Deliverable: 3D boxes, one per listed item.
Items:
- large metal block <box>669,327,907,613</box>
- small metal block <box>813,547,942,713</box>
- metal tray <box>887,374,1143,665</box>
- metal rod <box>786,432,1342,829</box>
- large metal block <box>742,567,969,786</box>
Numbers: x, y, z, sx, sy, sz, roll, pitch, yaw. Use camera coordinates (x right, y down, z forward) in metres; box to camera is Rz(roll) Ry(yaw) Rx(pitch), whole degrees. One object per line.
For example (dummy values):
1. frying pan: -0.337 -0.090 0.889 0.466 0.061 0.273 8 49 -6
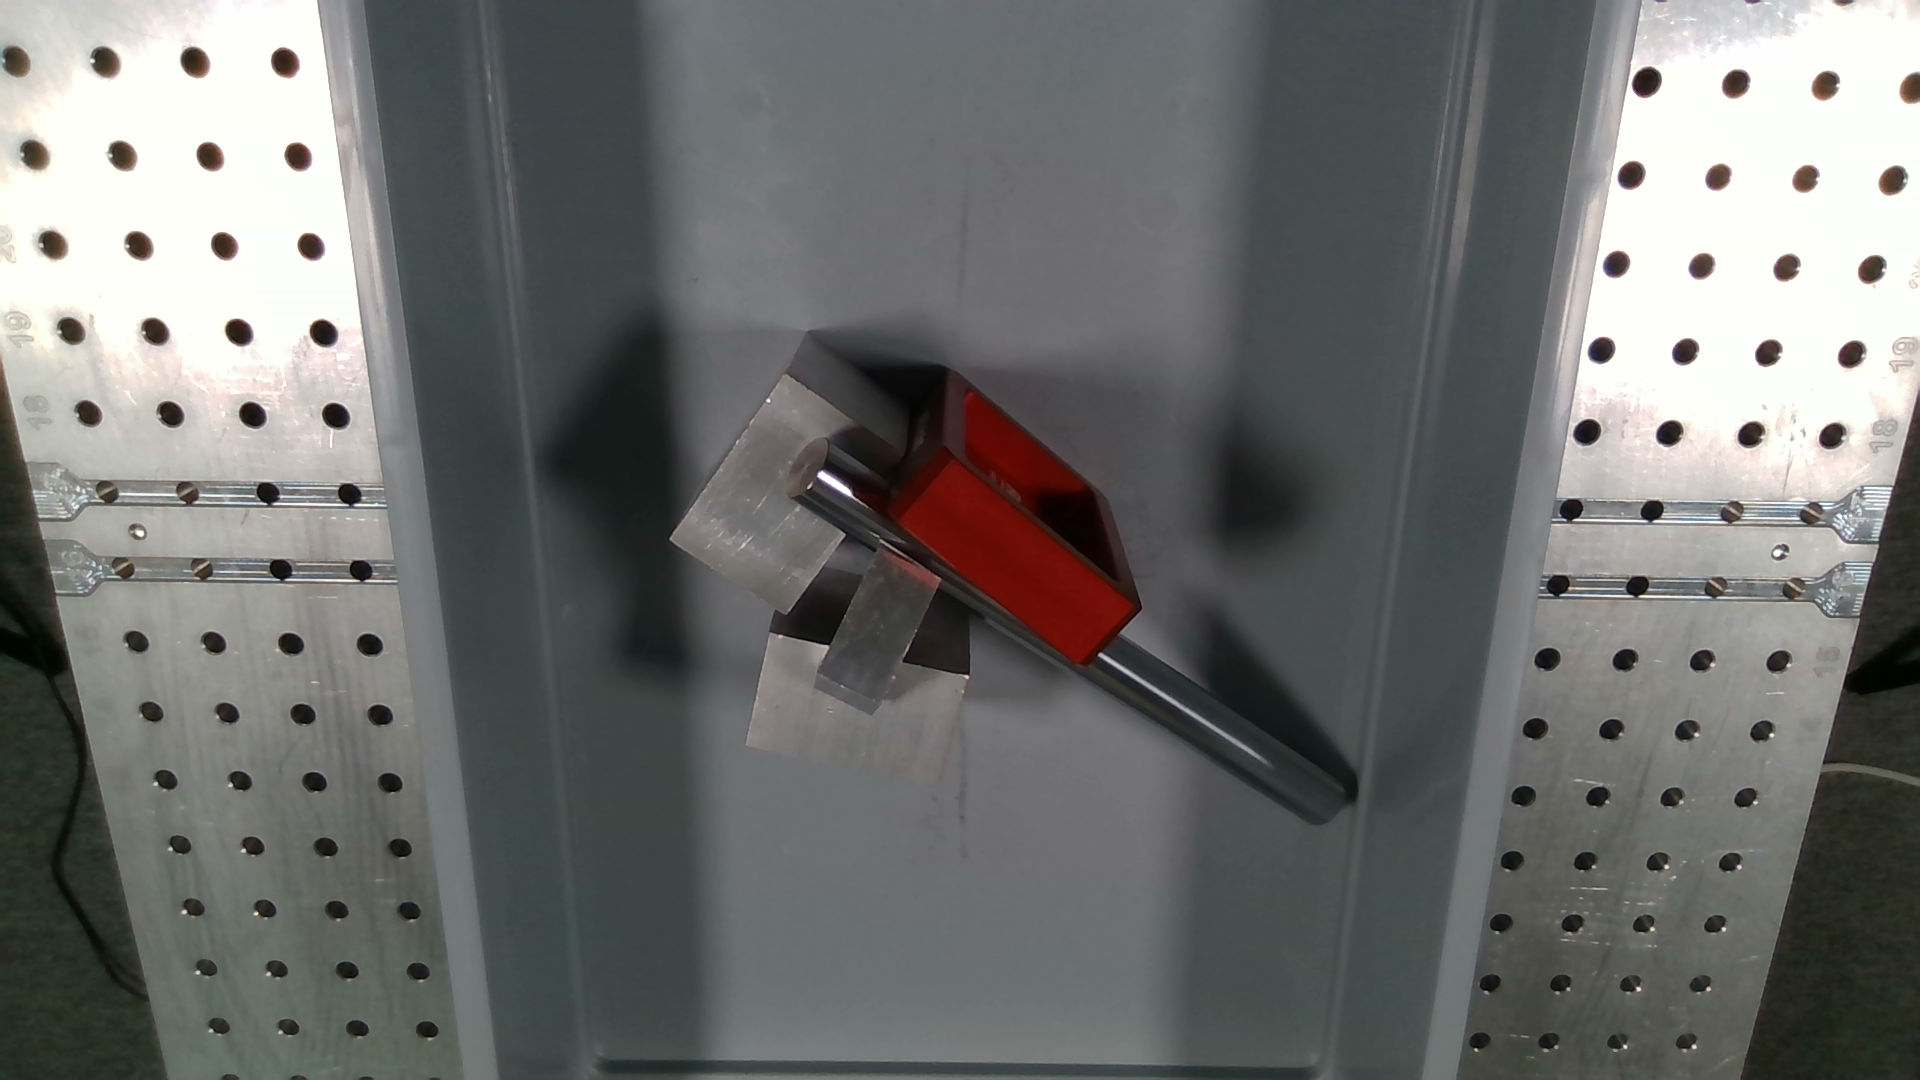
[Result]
1. large metal block: -0.065 -0.030 0.545 0.050 0.080 0.080 35 106 -12
2. small metal block: -0.031 0.035 0.504 0.025 0.050 0.050 26 77 -1
3. metal tray: 0.019 -0.013 0.522 0.090 0.130 0.030 39 105 -12
4. metal rod: 0.055 0.047 0.553 0.301 0.025 0.025 34 107 -29
5. large metal block: -0.041 0.053 0.575 0.080 0.080 0.050 13 110 -5
